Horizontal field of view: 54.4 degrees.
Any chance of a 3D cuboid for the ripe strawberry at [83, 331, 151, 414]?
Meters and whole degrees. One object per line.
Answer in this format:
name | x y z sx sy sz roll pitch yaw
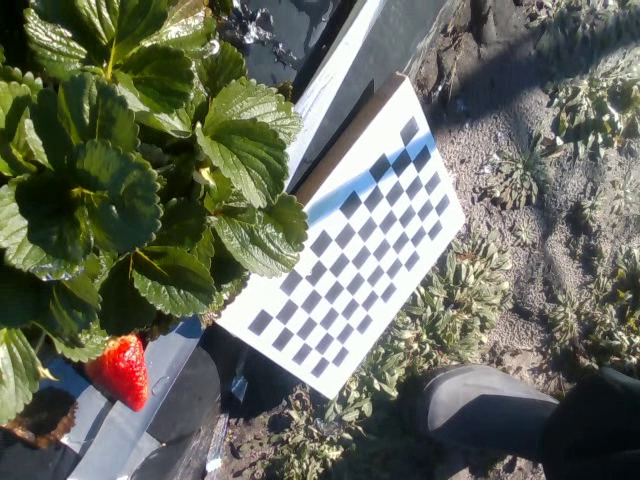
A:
ripe strawberry | -0.165 0.115 0.537 0.061 0.065 0.057 -31 2 -35
